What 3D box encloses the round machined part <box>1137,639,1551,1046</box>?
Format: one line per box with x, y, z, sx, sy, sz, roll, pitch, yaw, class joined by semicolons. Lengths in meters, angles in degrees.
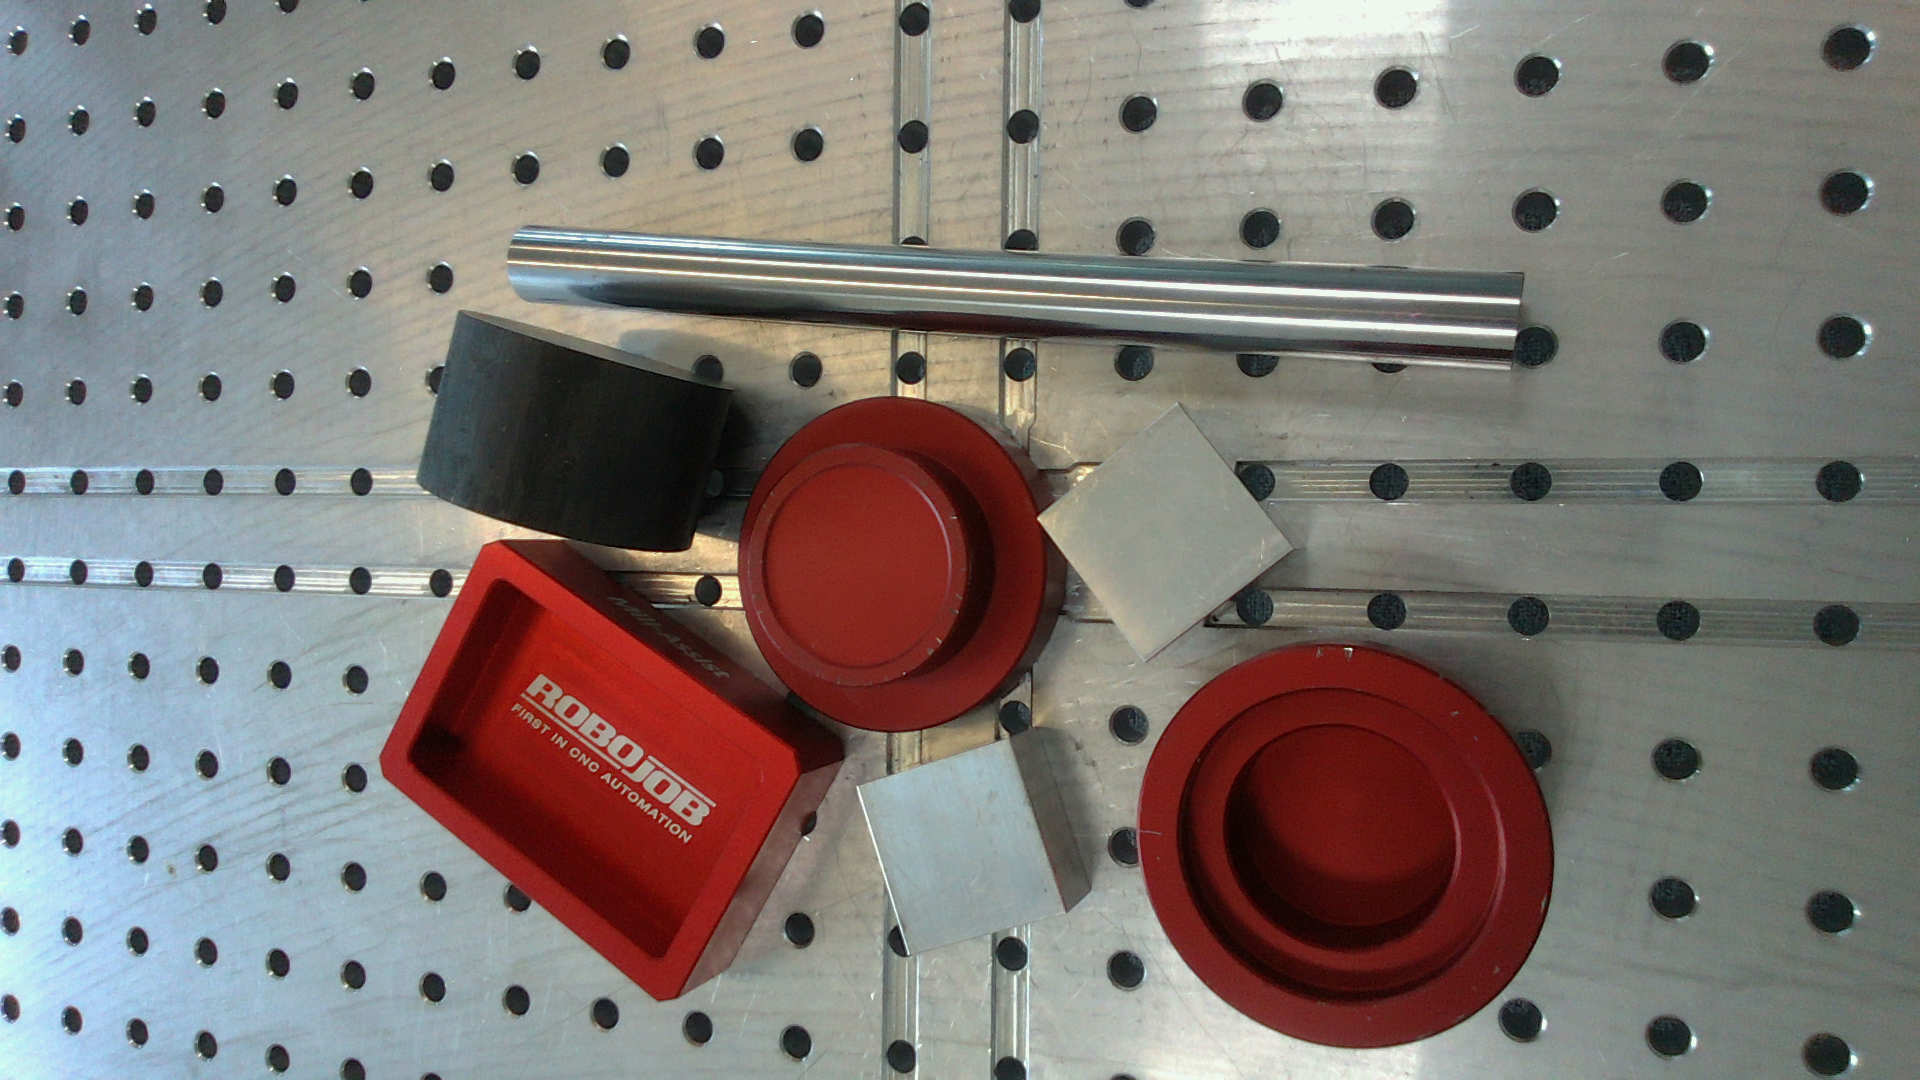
0.098;0.074;0.354;0.098;0.042;0.098;0;90;20;round machined part

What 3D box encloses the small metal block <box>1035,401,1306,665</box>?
0.058;-0.002;0.378;0.050;0.025;0.050;-40;77;16;small metal block

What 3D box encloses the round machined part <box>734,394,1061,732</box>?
-0.022;0.006;0.397;0.098;0.042;0.098;-1;87;20;round machined part

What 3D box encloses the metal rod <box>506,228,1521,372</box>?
0.000;-0.072;0.398;0.299;0.025;0.025;7;92;20;metal rod

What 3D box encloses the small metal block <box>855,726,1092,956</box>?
0.004;0.086;0.397;0.050;0.025;0.050;-20;83;19;small metal block

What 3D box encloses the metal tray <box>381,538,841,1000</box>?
-0.113;0.069;0.436;0.130;0.030;0.090;32;101;17;metal tray

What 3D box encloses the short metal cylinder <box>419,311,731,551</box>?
-0.114;-0.033;0.410;0.080;0.080;0.050;19;96;19;short metal cylinder
